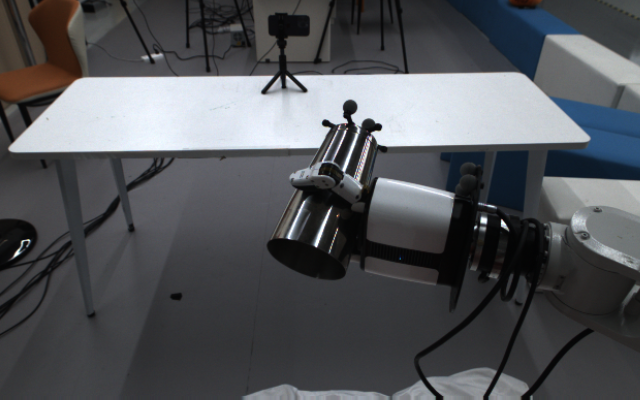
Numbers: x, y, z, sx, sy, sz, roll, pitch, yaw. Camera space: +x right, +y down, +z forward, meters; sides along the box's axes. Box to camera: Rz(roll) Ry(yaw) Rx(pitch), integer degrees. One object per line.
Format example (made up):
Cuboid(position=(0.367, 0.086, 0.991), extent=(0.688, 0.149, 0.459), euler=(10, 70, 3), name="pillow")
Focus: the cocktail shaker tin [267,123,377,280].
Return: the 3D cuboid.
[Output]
Cuboid(position=(0.012, -0.004, 0.562), extent=(0.093, 0.093, 0.170), euler=(14, 61, 17), name="cocktail shaker tin")
